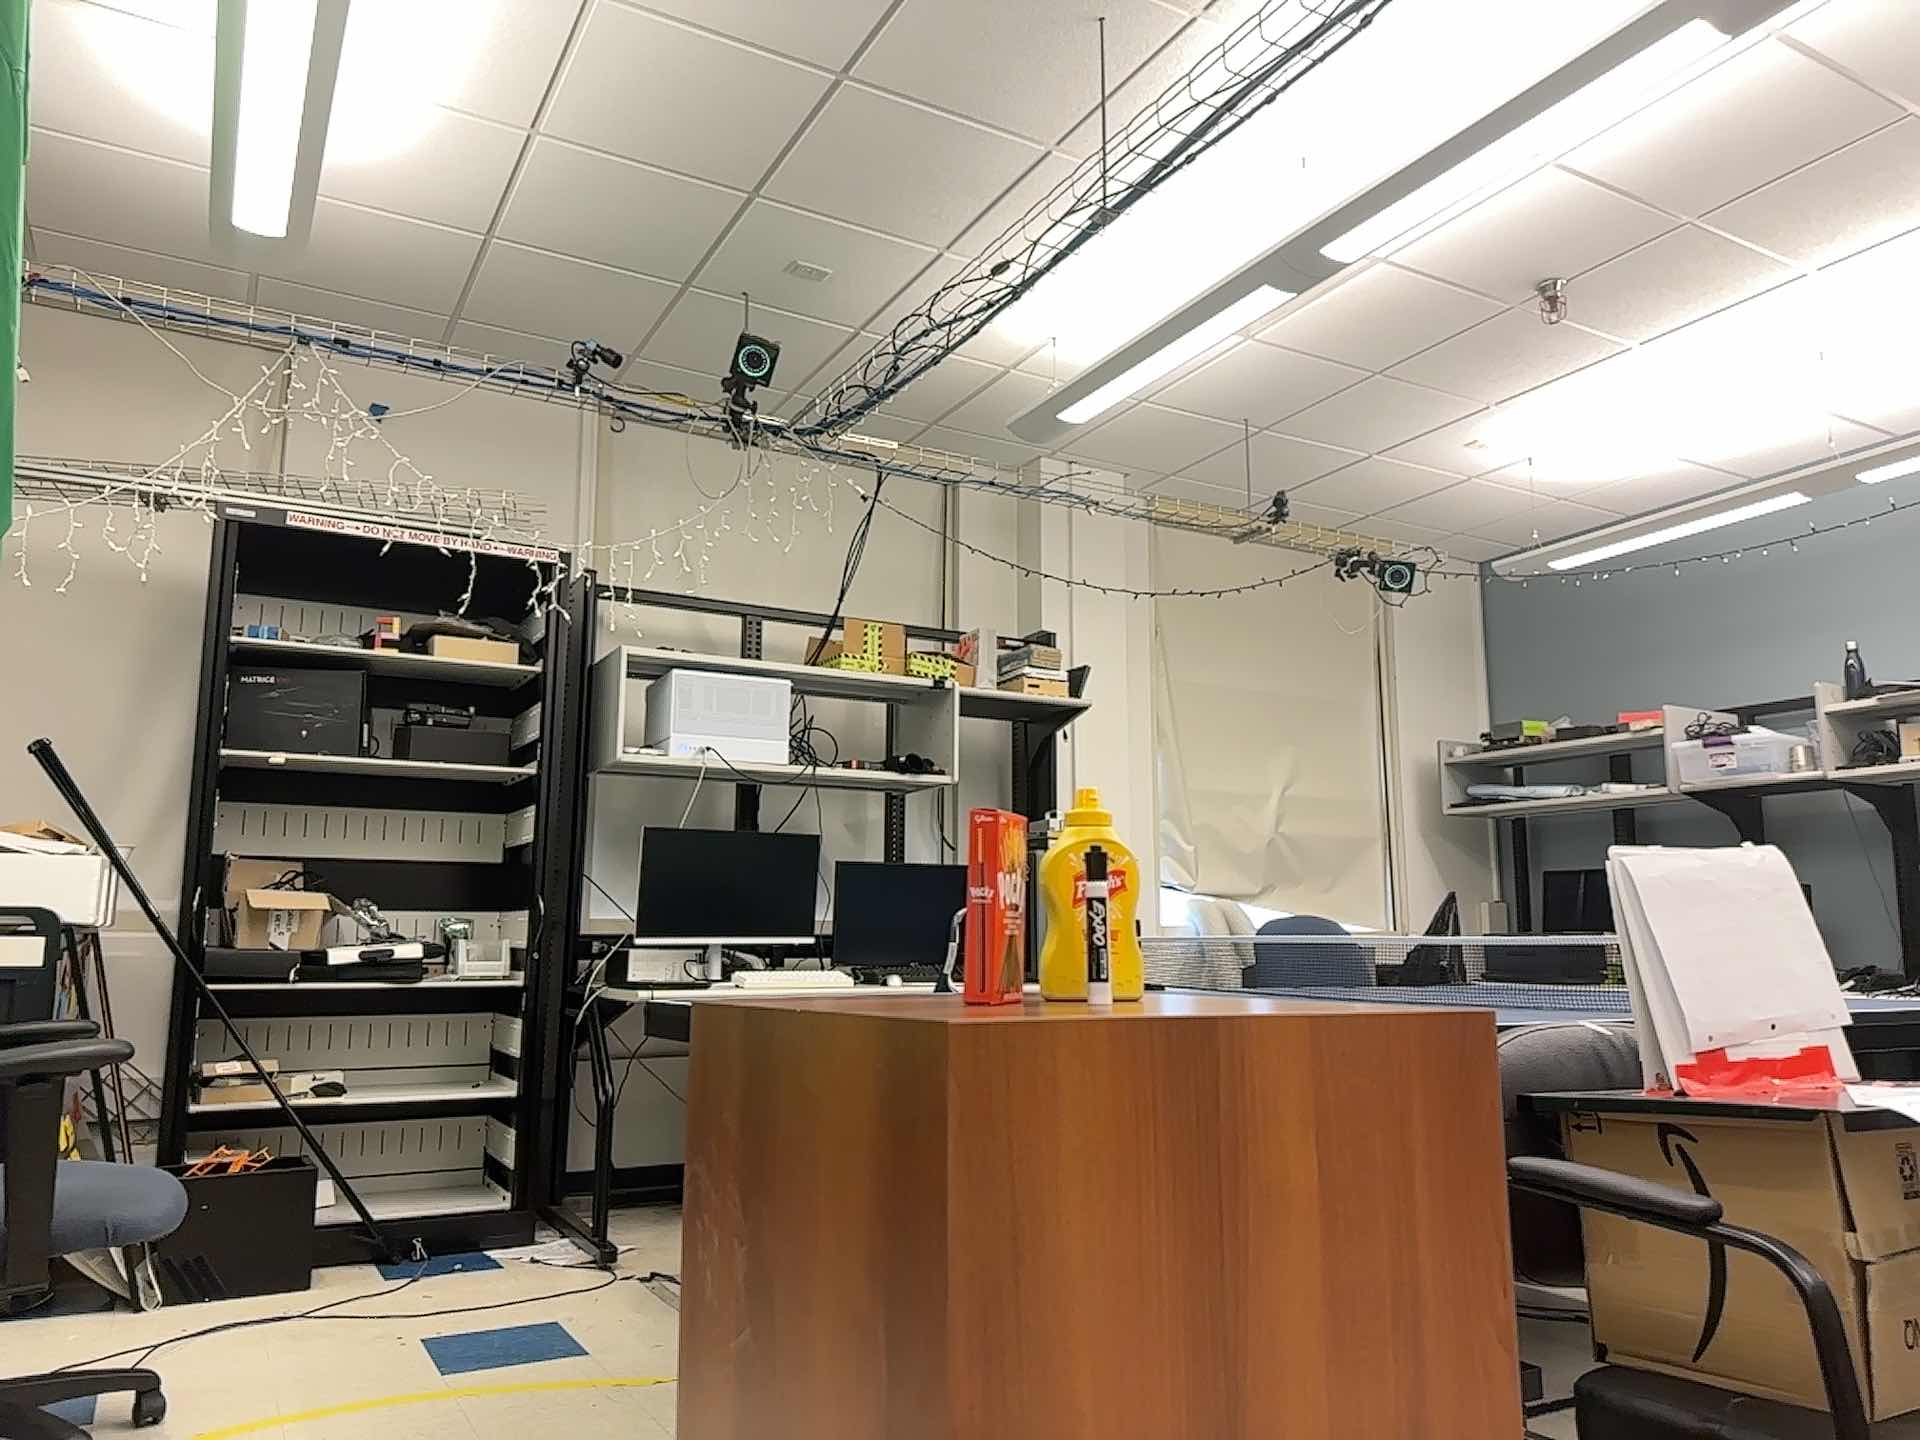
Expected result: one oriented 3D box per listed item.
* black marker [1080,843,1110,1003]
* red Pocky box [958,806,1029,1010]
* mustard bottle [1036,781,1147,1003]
[{"bbox_3d":[0.104,0.155,1.038,0.020,0.121,0.020,-1,-12,0],"label":"black marker"},{"bbox_3d":[0.027,0.147,1.056,0.028,0.155,0.083,-3,-8,25],"label":"red Pocky box"},{"bbox_3d":[0.109,0.143,1.134,0.092,0.184,0.054,1,-8,-9],"label":"mustard bottle"}]
